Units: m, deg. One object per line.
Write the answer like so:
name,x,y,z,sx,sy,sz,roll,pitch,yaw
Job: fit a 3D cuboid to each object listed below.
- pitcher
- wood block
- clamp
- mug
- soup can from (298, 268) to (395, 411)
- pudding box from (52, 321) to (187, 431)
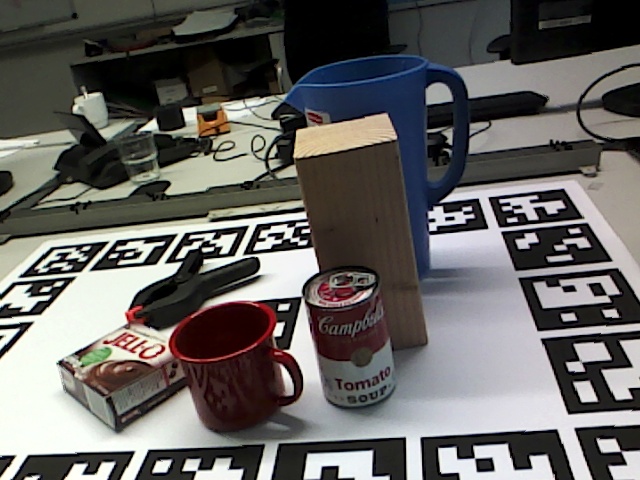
pitcher,0.076,-0.074,0.680,0.189,0.242,0.133,-9,22,11
wood block,0.042,-0.003,0.583,0.090,0.205,0.091,-5,25,6
clamp,-0.157,0.061,0.753,0.122,0.036,0.164,15,36,32
mug,-0.067,0.114,0.532,0.118,0.081,0.093,12,31,43
soup can,0.025,0.085,0.528,0.068,0.101,0.068,-10,27,5
pudding box,-0.196,0.130,0.611,0.114,0.038,0.089,14,38,44
